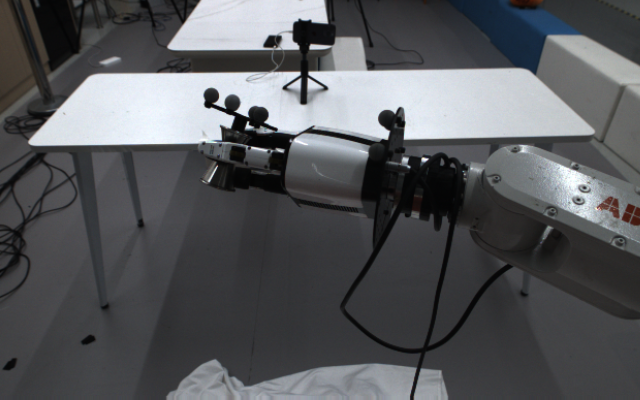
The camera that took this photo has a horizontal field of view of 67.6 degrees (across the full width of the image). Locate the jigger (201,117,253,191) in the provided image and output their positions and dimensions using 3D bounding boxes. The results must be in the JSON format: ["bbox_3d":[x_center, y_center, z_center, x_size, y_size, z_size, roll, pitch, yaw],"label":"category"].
[{"bbox_3d":[-0.108,-0.048,0.560,0.043,0.071,0.043,22,6,-2],"label":"jigger"}]
